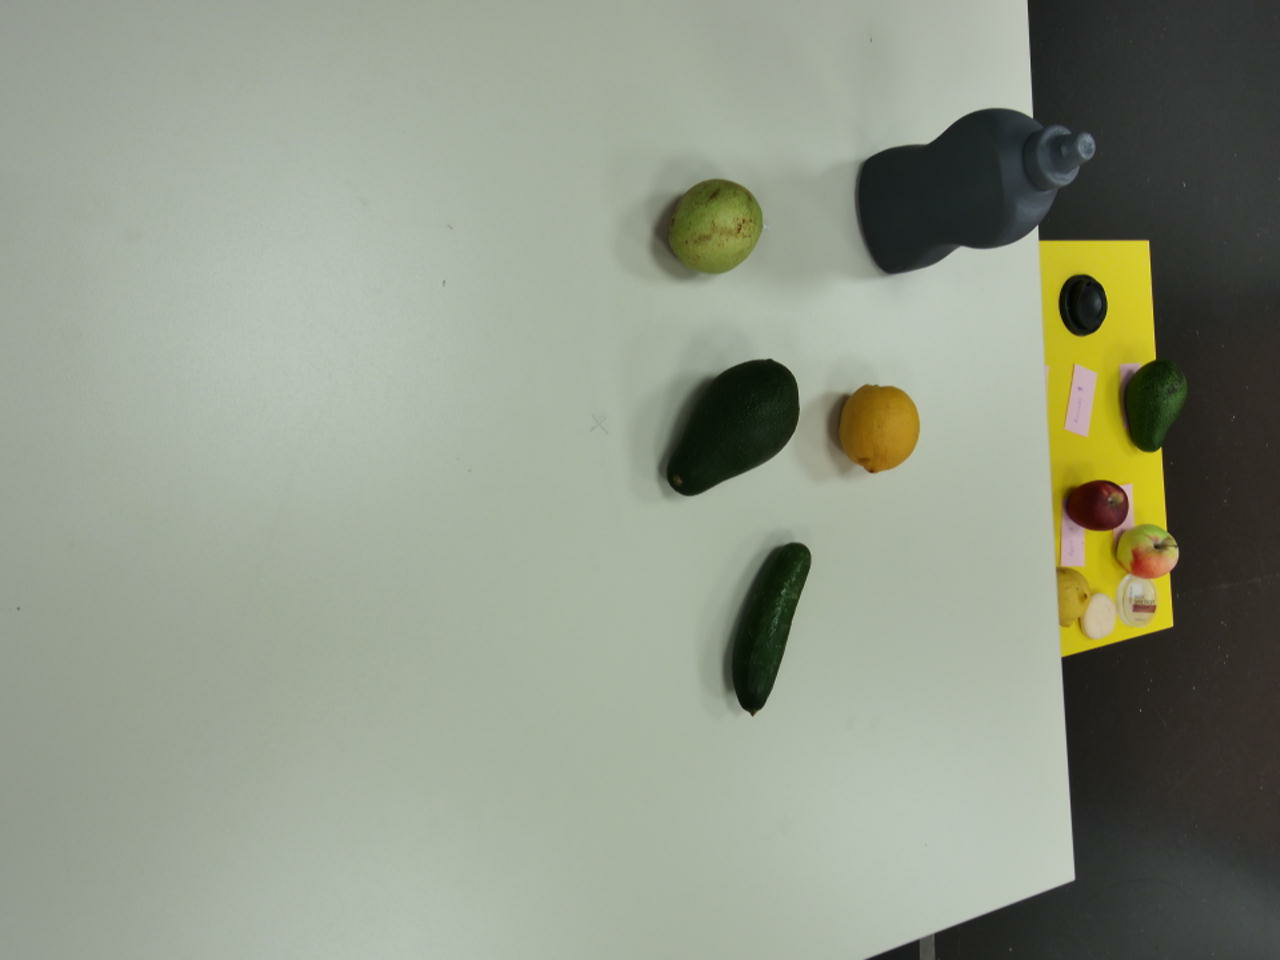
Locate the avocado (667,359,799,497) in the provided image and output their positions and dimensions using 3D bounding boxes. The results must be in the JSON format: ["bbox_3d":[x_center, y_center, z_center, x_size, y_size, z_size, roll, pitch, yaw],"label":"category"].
[{"bbox_3d":[0.065,-0.040,0.706,0.109,0.071,0.072,-30,104,-24],"label":"avocado"}]
